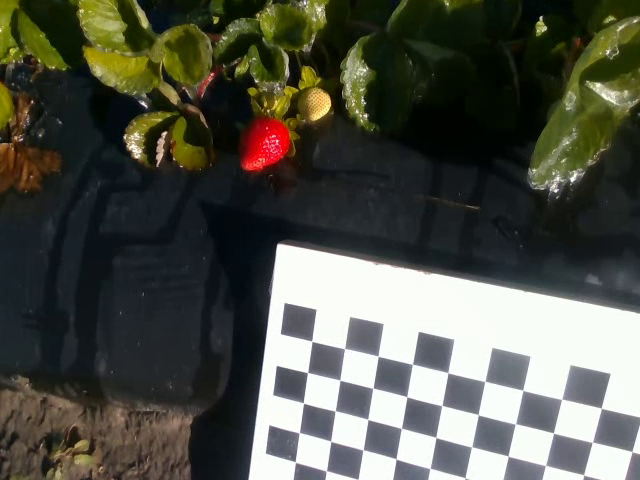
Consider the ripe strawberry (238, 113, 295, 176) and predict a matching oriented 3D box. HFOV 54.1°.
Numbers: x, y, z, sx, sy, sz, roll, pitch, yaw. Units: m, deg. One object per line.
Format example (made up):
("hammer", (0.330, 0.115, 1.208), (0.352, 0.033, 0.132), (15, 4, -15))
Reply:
("ripe strawberry", (-0.034, -0.049, 0.352), (0.039, 0.040, 0.039), (3, 37, 25))
